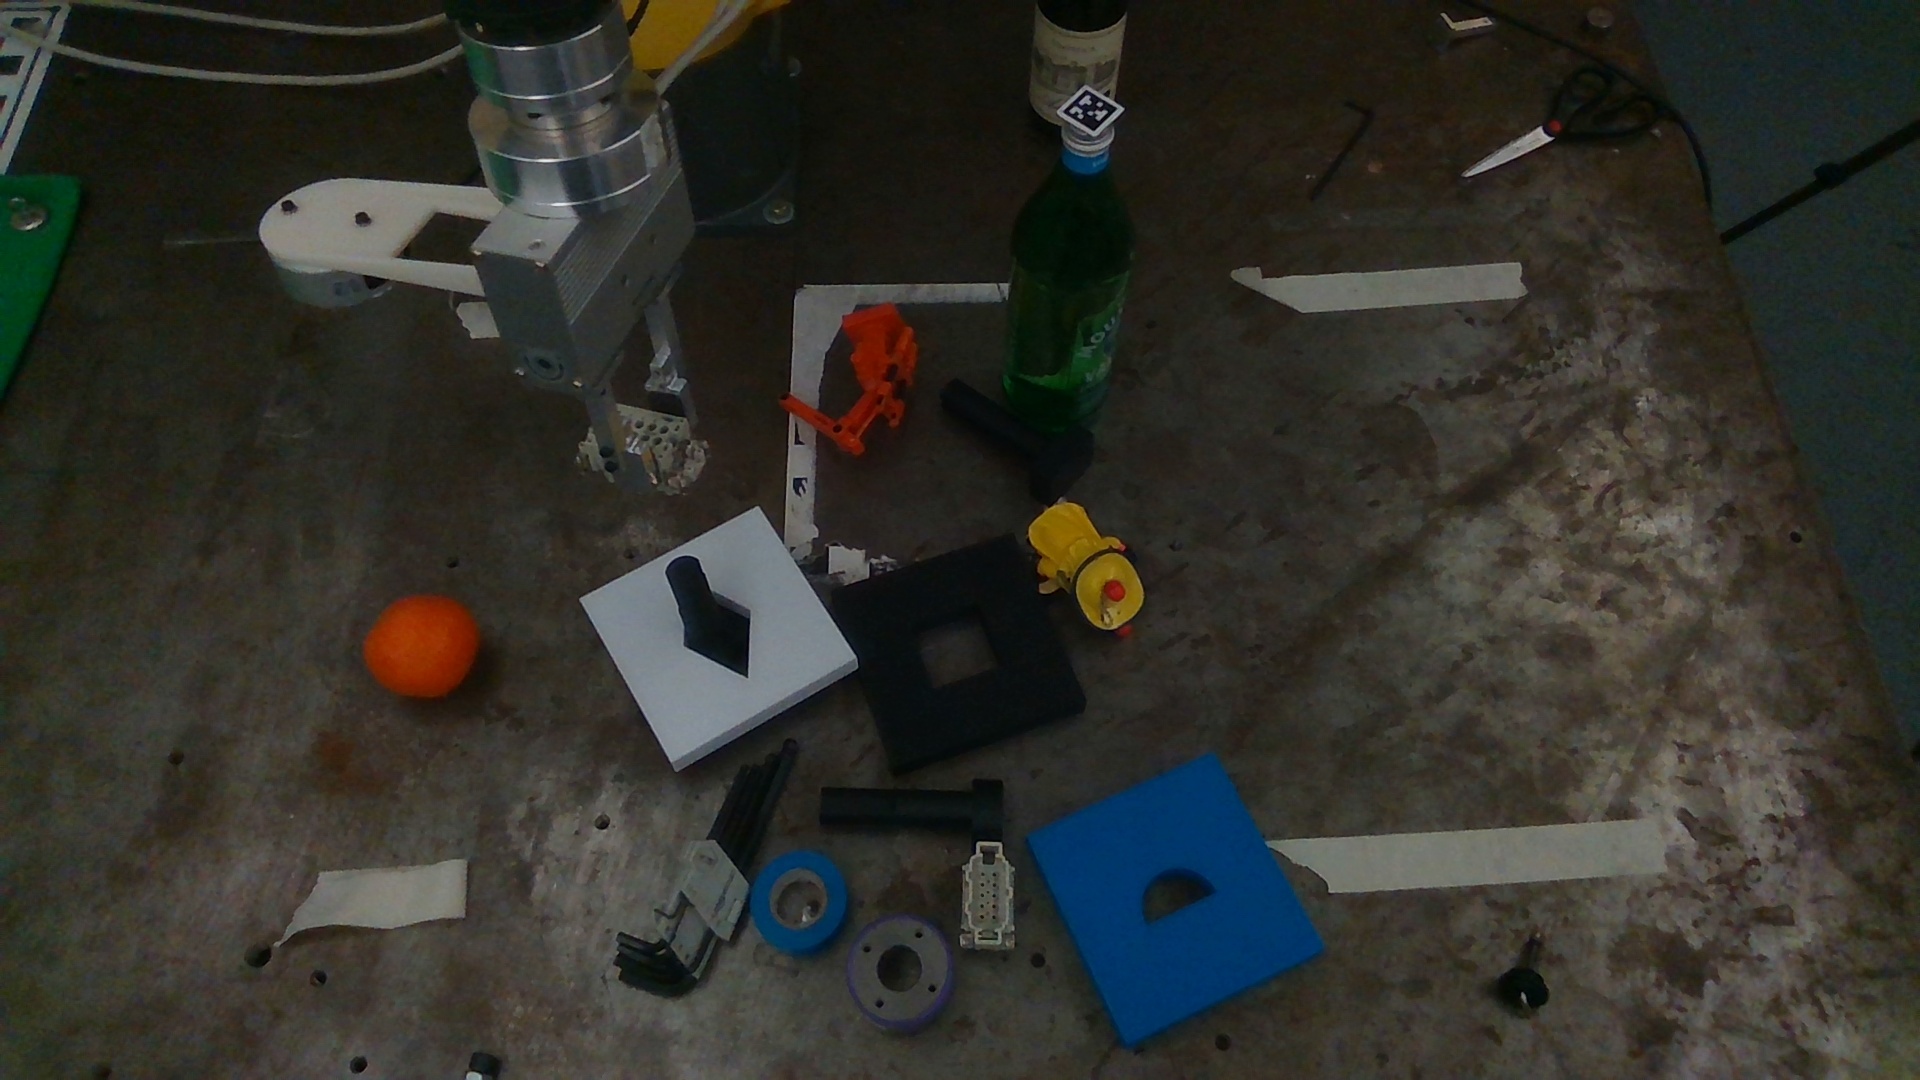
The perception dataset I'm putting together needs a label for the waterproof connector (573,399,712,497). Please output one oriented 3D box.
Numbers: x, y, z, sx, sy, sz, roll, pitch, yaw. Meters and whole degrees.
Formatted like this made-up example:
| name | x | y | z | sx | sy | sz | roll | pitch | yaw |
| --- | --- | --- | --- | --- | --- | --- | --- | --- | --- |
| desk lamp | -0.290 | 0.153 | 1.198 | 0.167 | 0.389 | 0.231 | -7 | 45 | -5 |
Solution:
| name | x | y | z | sx | sy | sz | roll | pitch | yaw |
| --- | --- | --- | --- | --- | --- | --- | --- | --- | --- |
| waterproof connector | -0.169 | -0.046 | 0.735 | 0.069 | 0.038 | 0.036 | 14 | 47 | 5 |
